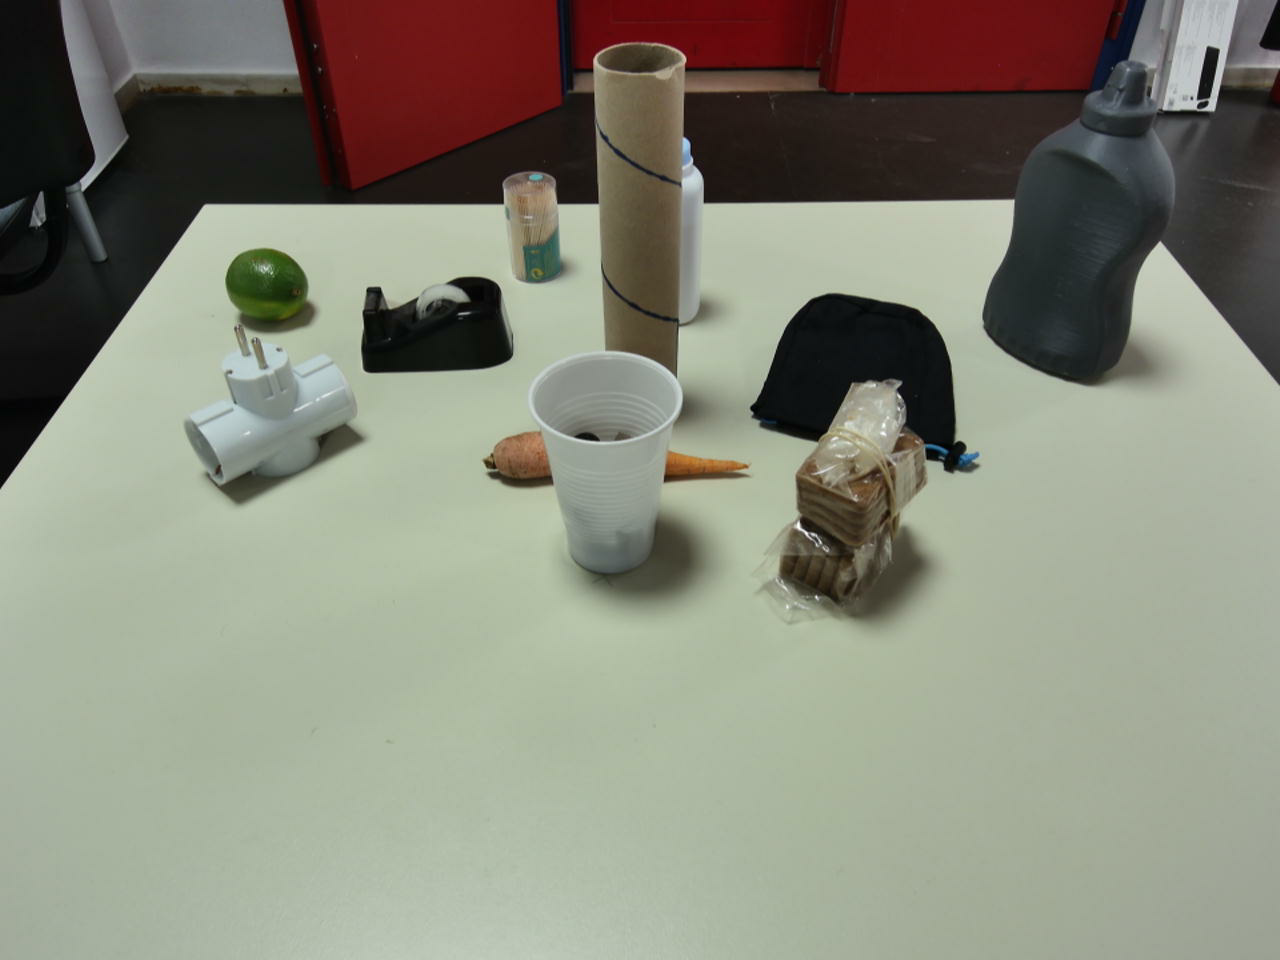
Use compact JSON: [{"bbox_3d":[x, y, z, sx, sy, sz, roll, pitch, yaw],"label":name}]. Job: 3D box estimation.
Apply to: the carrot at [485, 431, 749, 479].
[{"bbox_3d":[-0.014,-0.015,0.619,0.163,0.029,0.031,0,39,0],"label":"carrot"}]
